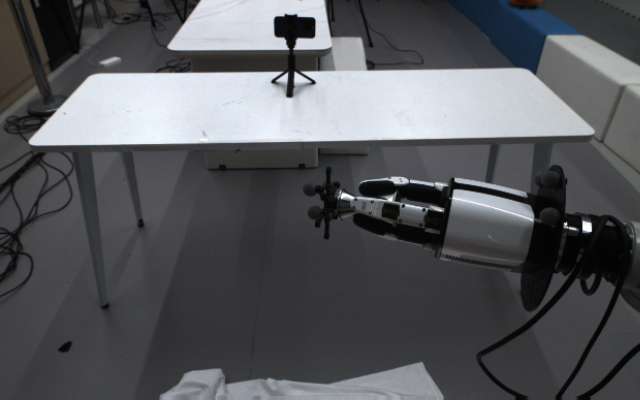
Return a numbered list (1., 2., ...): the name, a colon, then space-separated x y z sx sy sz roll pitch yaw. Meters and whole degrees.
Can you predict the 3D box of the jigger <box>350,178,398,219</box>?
1. jigger: 0.065 0.003 0.577 0.071 0.043 0.043 3 34 18
